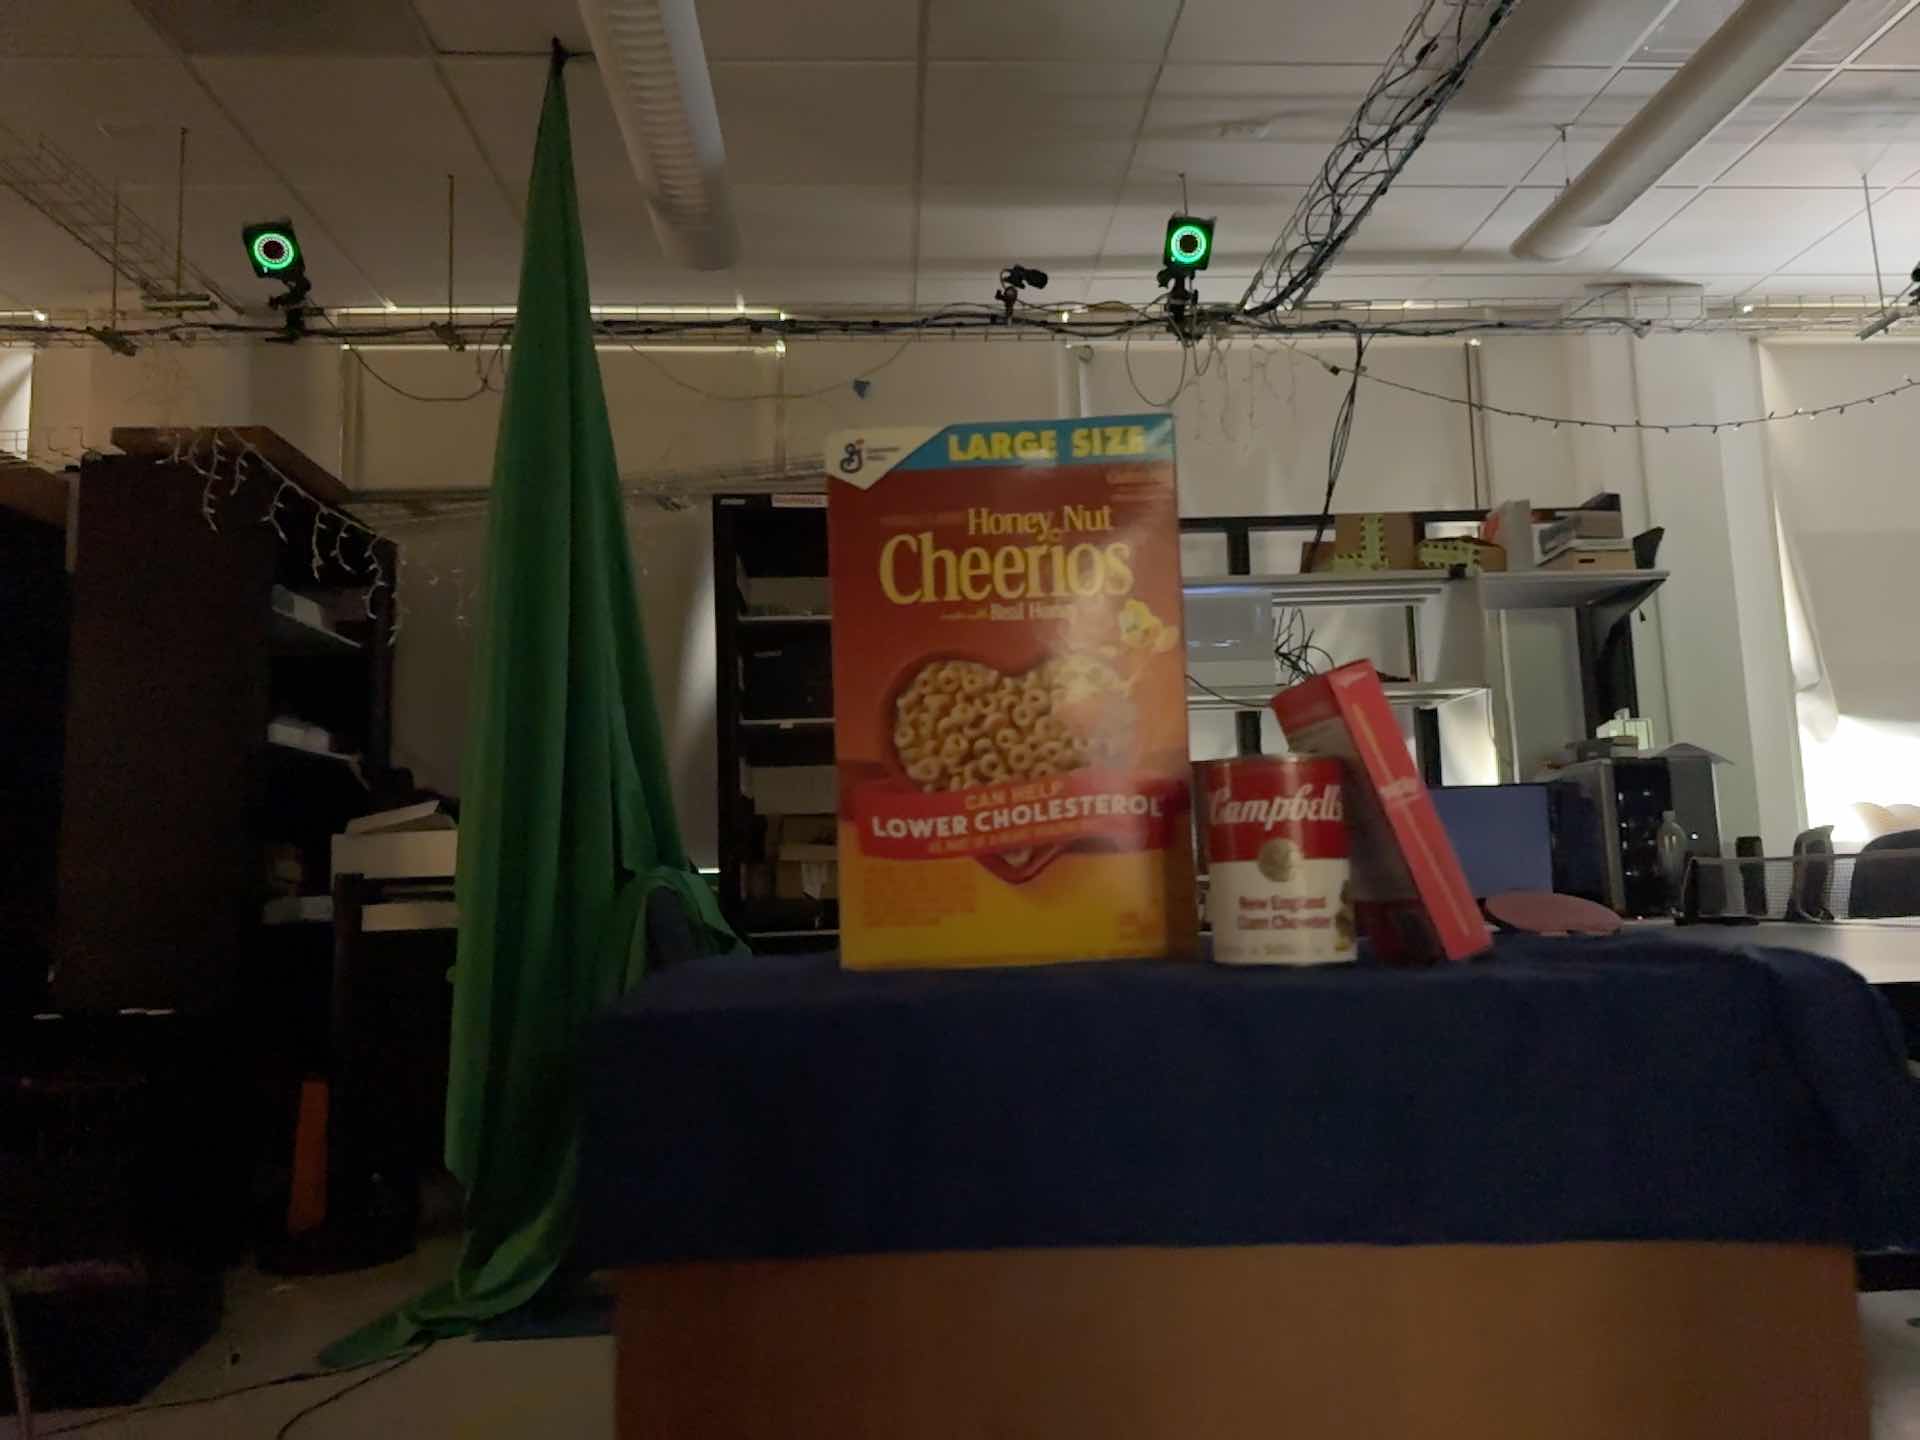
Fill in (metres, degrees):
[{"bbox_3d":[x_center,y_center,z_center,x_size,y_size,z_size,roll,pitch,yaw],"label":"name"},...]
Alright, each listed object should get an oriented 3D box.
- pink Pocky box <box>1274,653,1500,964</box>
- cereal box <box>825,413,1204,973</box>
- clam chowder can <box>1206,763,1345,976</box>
[{"bbox_3d":[0.215,0.046,0.690,0.029,0.155,0.084,-22,-5,-10],"label":"pink Pocky box"},{"bbox_3d":[0.029,-0.014,0.768,0.195,0.297,0.065,-2,-6,5],"label":"cereal box"},{"bbox_3d":[0.158,0.075,0.678,0.068,0.102,0.068,1,-6,0],"label":"clam chowder can"}]
